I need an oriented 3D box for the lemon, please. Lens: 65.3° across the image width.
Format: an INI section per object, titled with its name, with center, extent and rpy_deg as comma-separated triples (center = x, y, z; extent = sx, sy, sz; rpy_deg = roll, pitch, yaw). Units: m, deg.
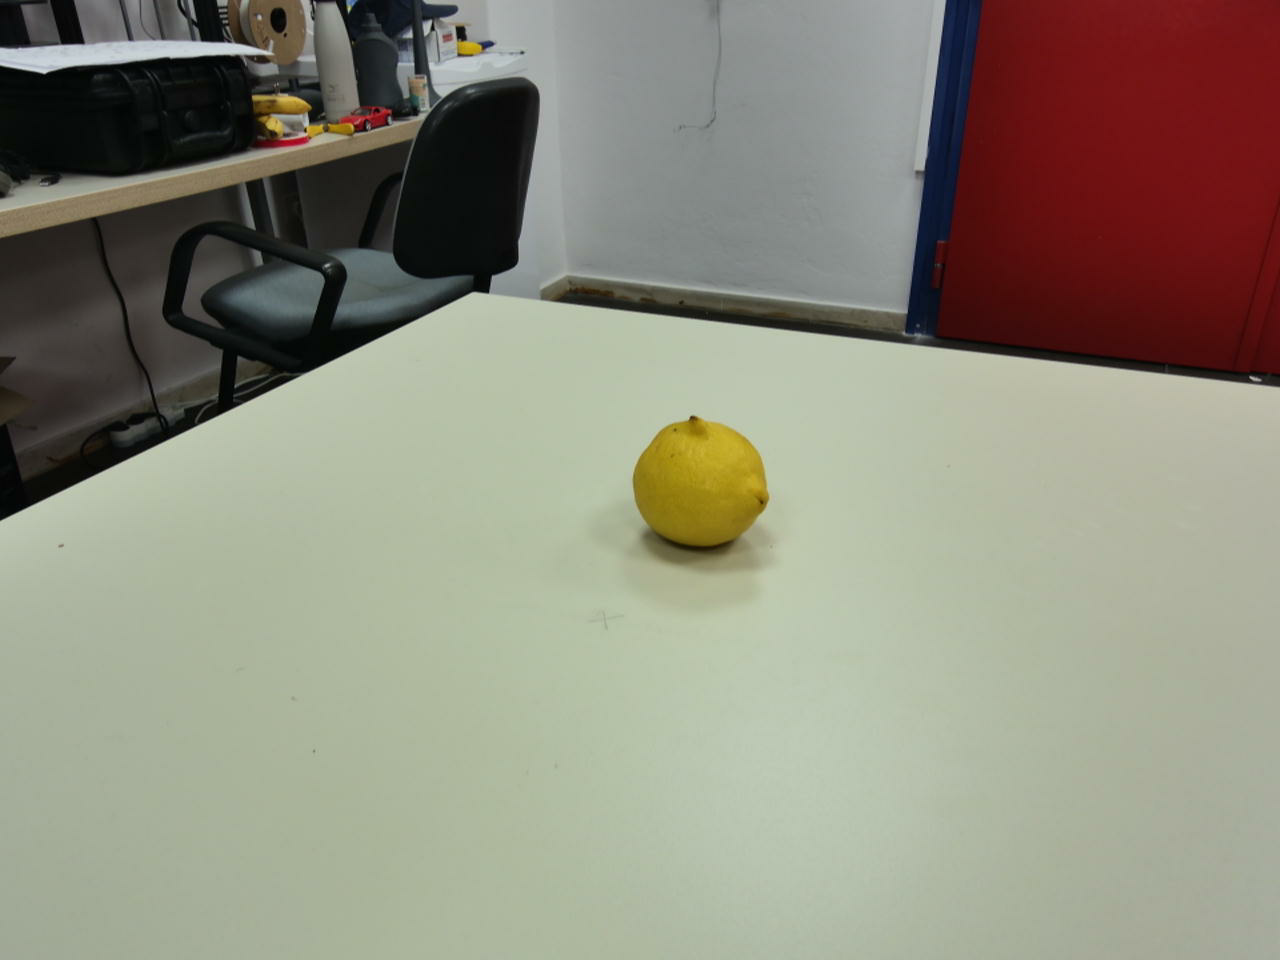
[lemon]
center = 0.032, -0.001, 0.535
extent = 0.070, 0.071, 0.071
rpy_deg = -4, 25, -8
